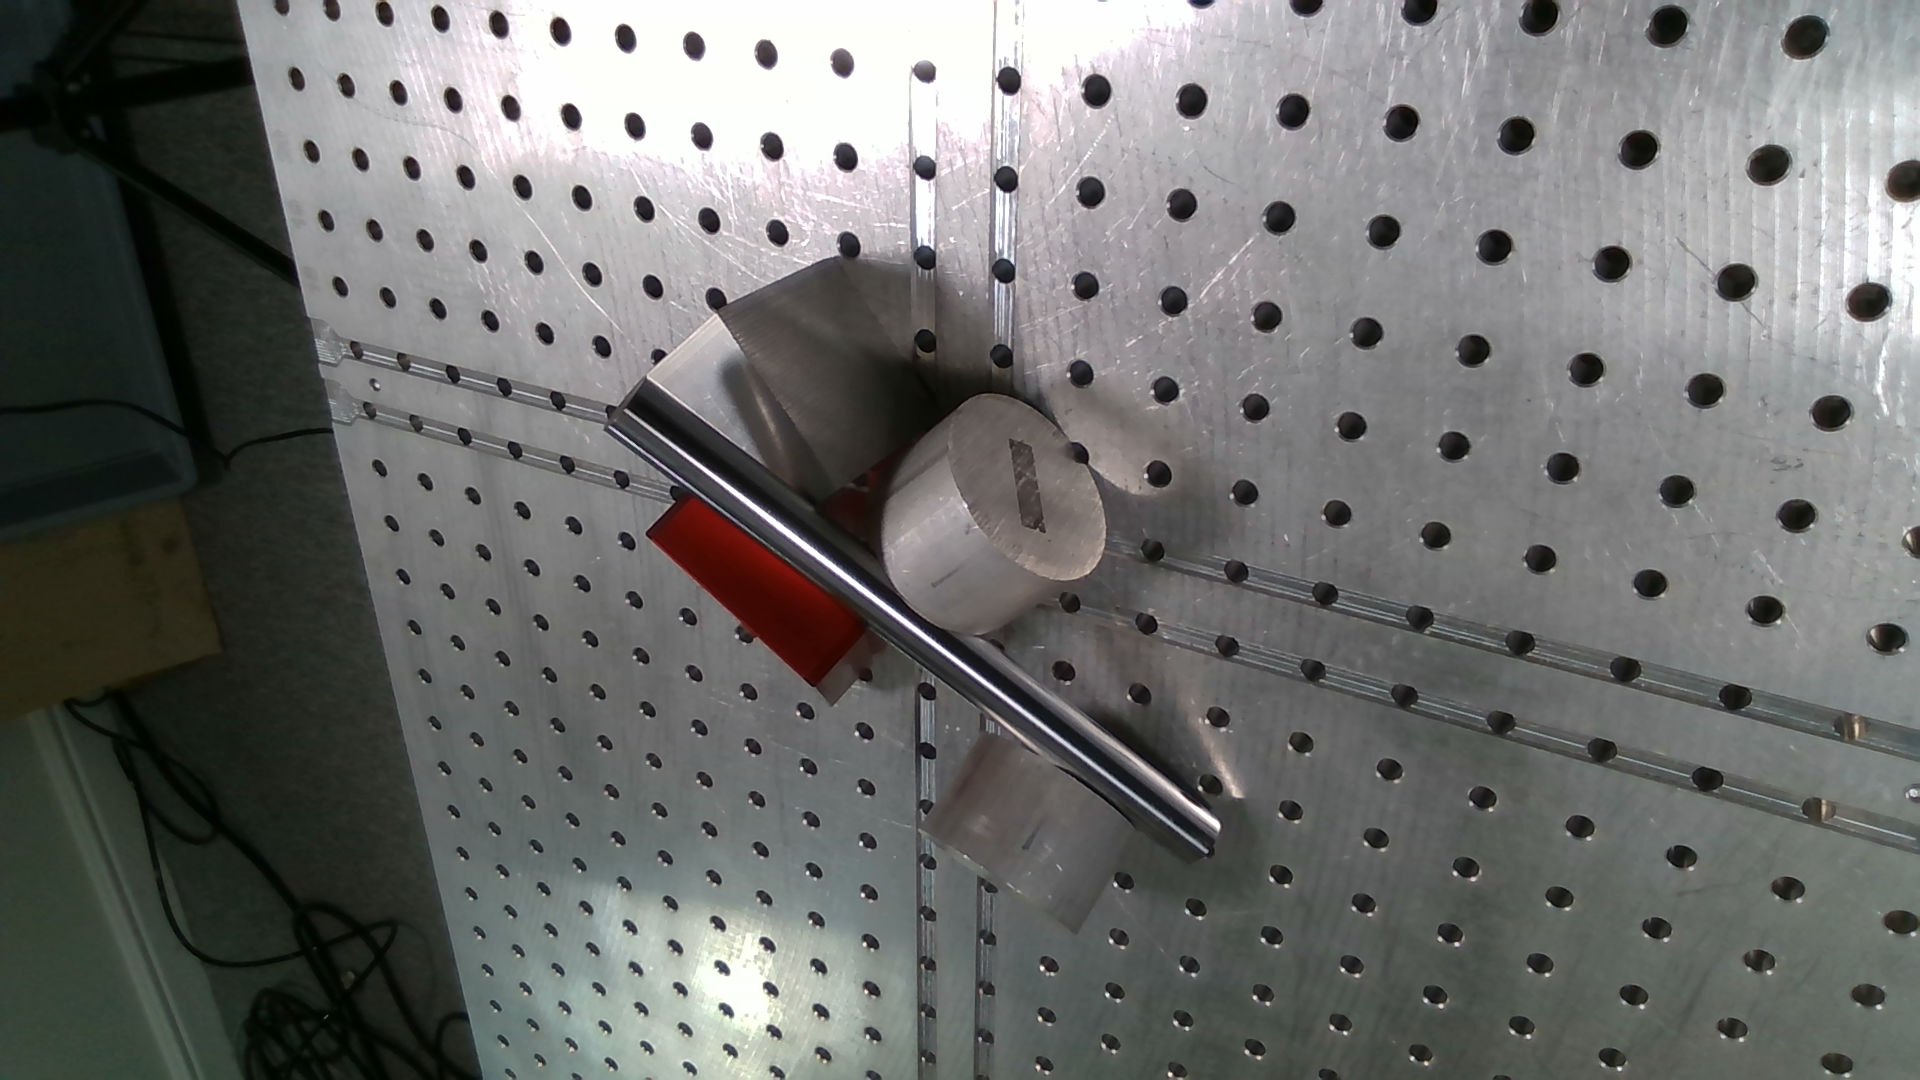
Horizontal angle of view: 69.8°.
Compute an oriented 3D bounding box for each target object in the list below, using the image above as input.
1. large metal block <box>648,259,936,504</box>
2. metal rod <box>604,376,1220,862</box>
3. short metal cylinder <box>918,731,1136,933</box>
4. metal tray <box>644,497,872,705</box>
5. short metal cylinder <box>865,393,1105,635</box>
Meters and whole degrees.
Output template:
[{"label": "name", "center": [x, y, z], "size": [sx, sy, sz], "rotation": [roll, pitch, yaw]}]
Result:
[{"label": "large metal block", "center": [-0.067, -0.057, 0.557], "size": [0.050, 0.080, 0.080], "rotation": [-30, 97, 39]}, {"label": "metal rod", "center": [-0.009, 0.039, 0.541], "size": [0.300, 0.025, 0.025], "rotation": [38, 132, -19]}, {"label": "short metal cylinder", "center": [0.028, 0.126, 0.593], "size": [0.080, 0.050, 0.080], "rotation": [32, 167, 9]}, {"label": "metal tray", "center": [-0.082, 0.028, 0.594], "size": [0.090, 0.030, 0.130], "rotation": [41, 171, 6]}, {"label": "short metal cylinder", "center": [0.010, -0.010, 0.536], "size": [0.050, 0.080, 0.080], "rotation": [-35, 94, 39]}]
